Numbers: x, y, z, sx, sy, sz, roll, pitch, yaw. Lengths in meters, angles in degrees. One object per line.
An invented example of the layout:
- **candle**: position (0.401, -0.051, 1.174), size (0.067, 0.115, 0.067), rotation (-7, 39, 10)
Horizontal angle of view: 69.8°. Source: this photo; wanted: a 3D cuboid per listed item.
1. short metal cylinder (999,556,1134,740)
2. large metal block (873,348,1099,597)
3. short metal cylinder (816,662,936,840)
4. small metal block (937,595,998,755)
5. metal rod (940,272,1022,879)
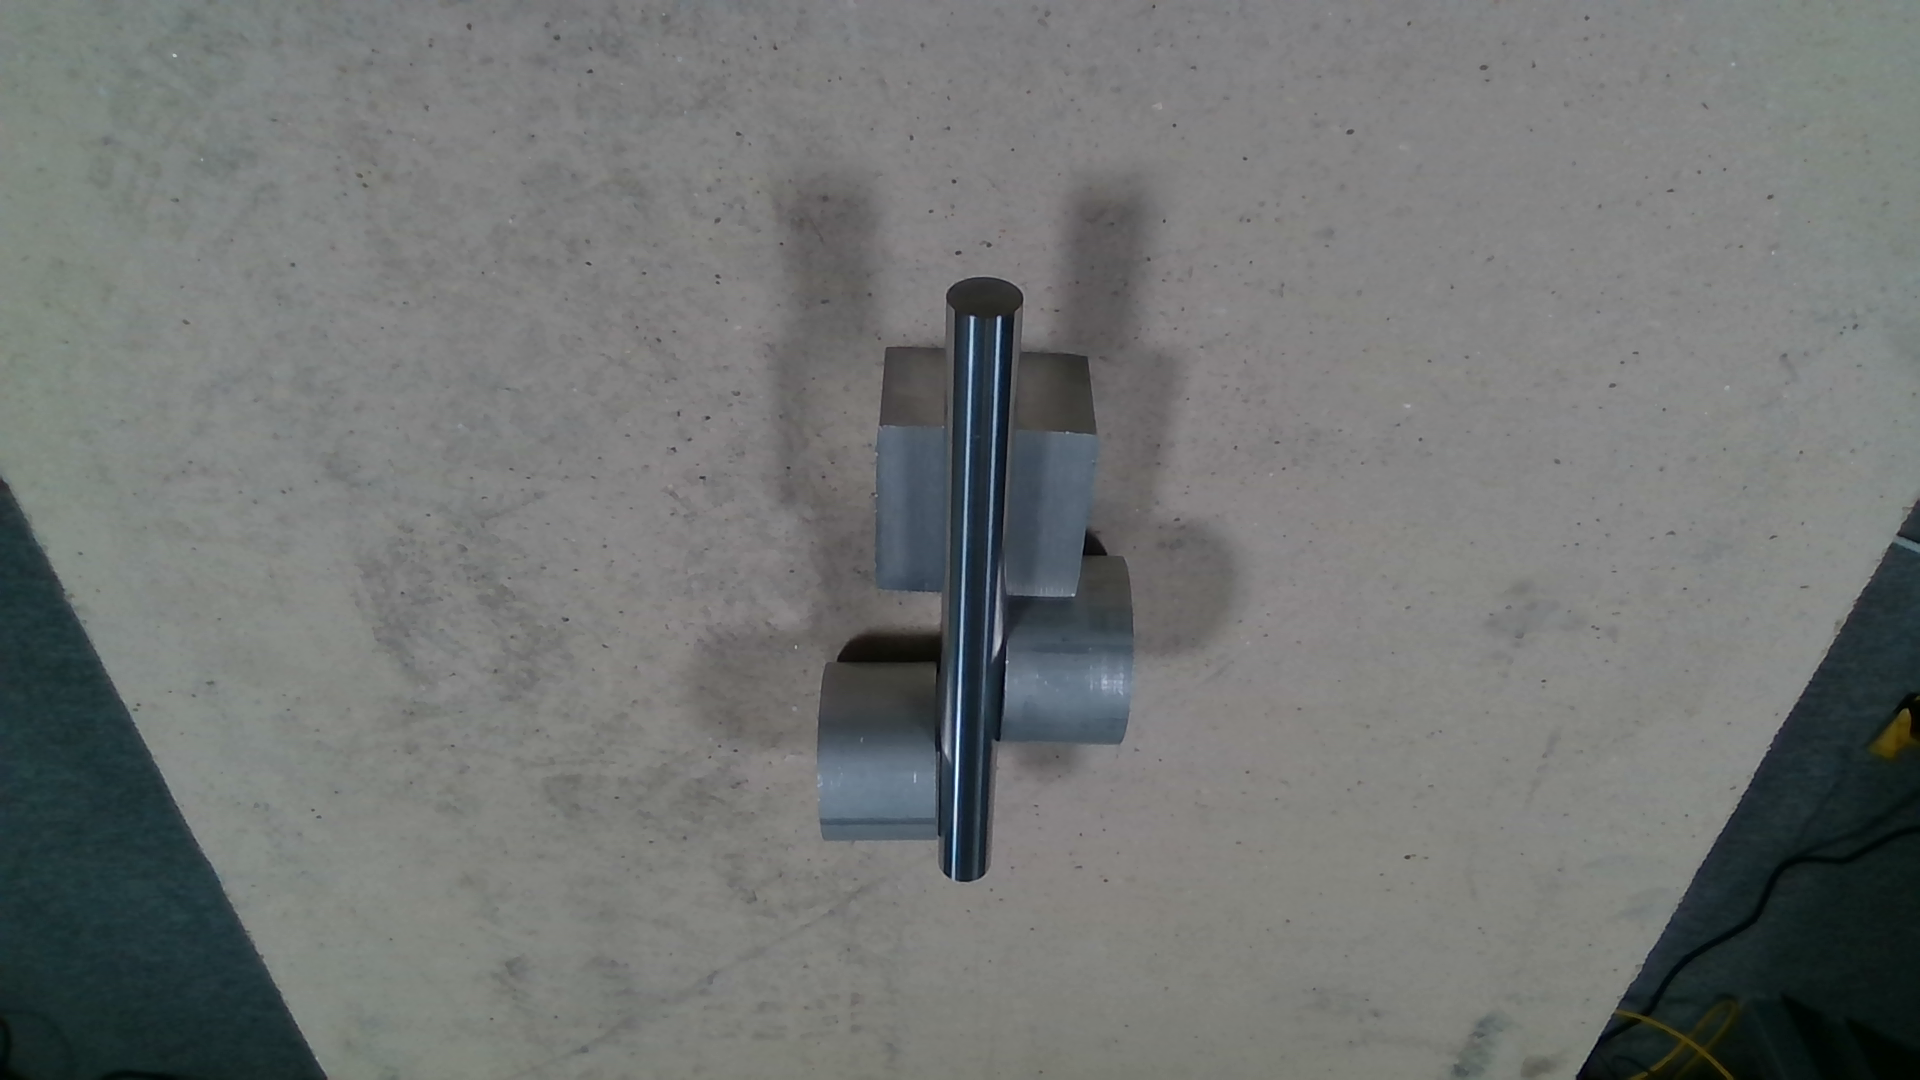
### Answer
- **short metal cylinder**: position (0.043, 0.045, 0.582), size (0.050, 0.080, 0.080), rotation (2, 130, -1)
- **large metal block**: position (0.008, -0.026, 0.537), size (0.080, 0.050, 0.080), rotation (2, 130, -2)
- **short metal cylinder**: position (-0.036, 0.095, 0.623), size (0.050, 0.080, 0.080), rotation (0, 130, 0)
- **small metal block**: position (0.003, 0.060, 0.612), size (0.025, 0.050, 0.050), rotation (1, 130, -1)
- **metal rod**: position (0.005, 0.034, 0.541), size (0.025, 0.025, 0.301), rotation (1, 131, -1)
